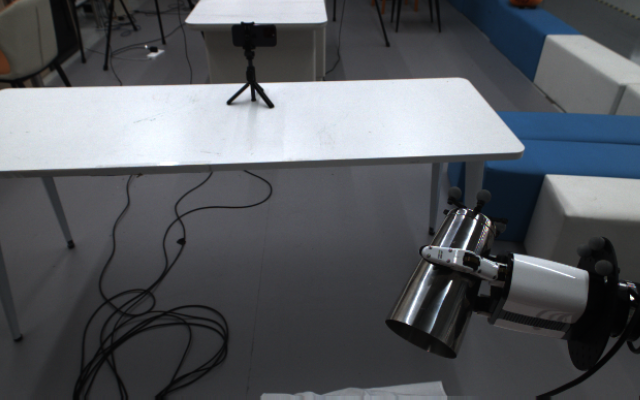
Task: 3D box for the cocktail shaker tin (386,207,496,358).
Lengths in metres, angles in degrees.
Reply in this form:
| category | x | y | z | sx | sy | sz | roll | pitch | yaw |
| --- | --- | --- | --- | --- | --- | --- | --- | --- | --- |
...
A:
| category | x | y | z | sx | sy | sz | roll | pitch | yaw |
| --- | --- | --- | --- | --- | --- | --- | --- | --- | --- |
| cocktail shaker tin | 0.160 | 0.093 | 0.604 | 0.093 | 0.093 | 0.170 | 20 | 67 | 24 |
